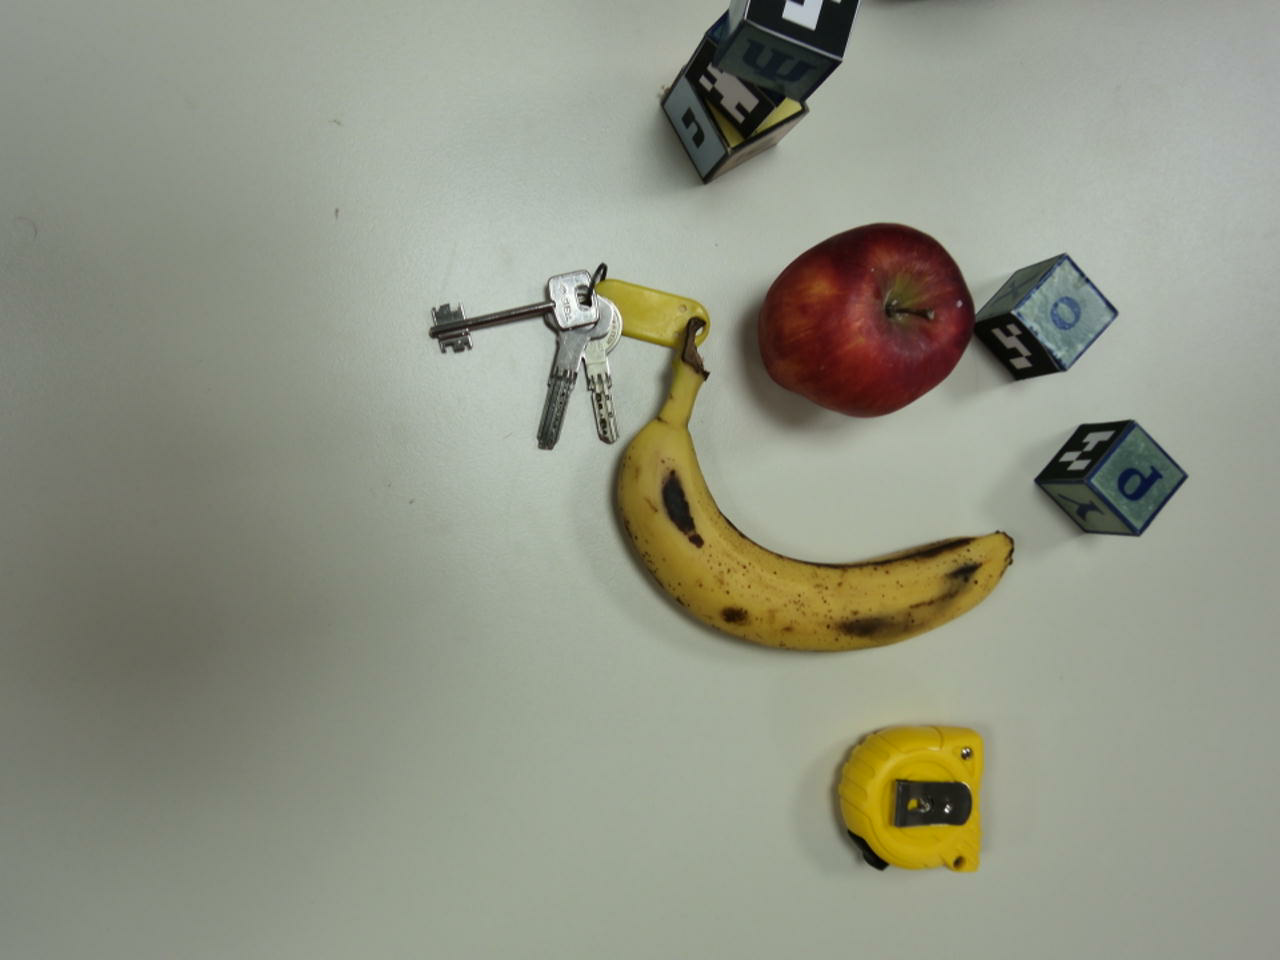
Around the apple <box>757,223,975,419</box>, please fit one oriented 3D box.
[{"bbox_3d":[0.093,-0.065,0.409,0.083,0.090,0.083,0,90,-11],"label":"apple"}]
